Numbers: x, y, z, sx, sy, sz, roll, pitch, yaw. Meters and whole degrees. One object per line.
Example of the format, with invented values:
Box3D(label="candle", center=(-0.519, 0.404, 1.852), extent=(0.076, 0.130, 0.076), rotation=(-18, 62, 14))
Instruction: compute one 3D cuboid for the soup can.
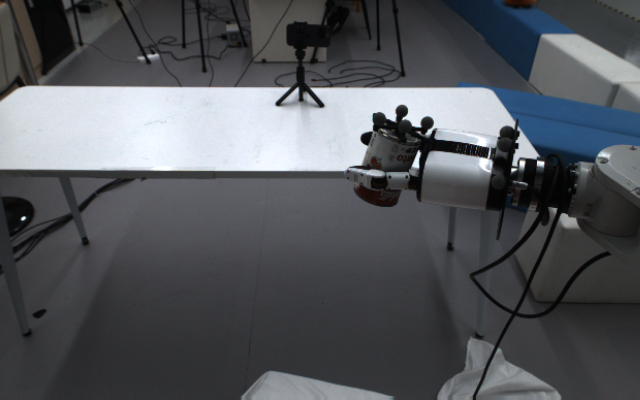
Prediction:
Box3D(label="soup can", center=(0.094, -0.050, 0.673), extent=(0.067, 0.101, 0.067), rotation=(13, 30, -8))
